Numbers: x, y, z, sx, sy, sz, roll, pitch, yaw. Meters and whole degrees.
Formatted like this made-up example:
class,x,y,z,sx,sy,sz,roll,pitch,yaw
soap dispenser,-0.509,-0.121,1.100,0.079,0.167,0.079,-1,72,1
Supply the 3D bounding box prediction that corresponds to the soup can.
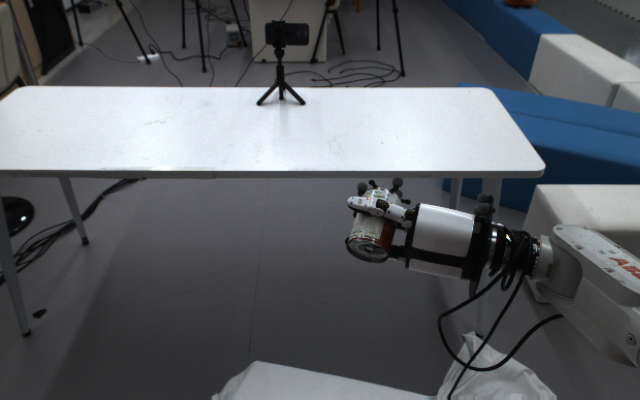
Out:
class,x,y,z,sx,sy,sz,roll,pitch,yaw
soup can,0.088,0.039,0.769,0.067,0.067,0.101,12,59,14
